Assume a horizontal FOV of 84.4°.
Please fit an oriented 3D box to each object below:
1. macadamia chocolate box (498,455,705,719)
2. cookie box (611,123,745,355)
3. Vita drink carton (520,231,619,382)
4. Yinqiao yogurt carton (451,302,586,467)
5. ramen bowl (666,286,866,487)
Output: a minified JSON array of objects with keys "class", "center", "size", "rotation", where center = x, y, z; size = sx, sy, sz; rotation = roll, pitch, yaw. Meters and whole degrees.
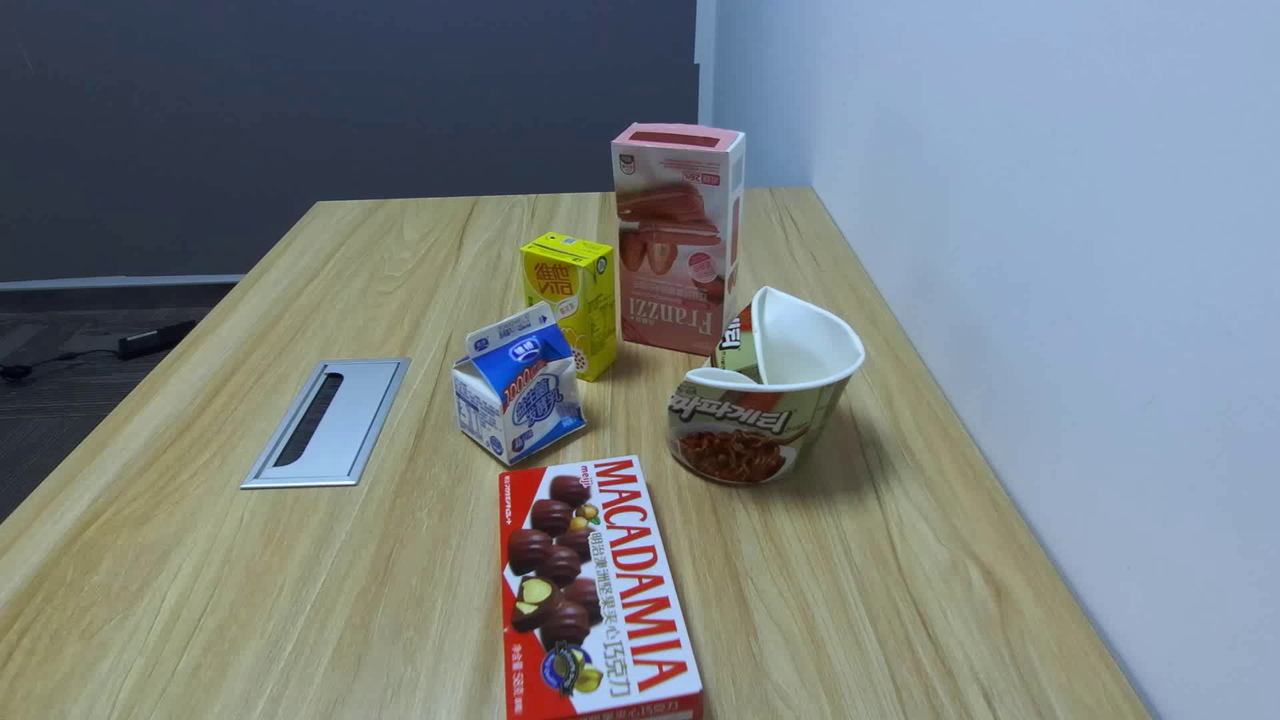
[{"class":"macadamia chocolate box","center":[-0.030,0.127,0.407],"size":[0.096,0.027,0.177],"rotation":[-5,34,-9]},{"class":"cookie box","center":[0.029,-0.097,0.589],"size":[0.105,0.188,0.049],"rotation":[12,36,19]},{"class":"Vita drink carton","center":[-0.056,-0.044,0.586],"size":[0.066,0.109,0.044],"rotation":[18,38,27]},{"class":"Yinqiao yogurt carton","center":[-0.090,0.013,0.518],"size":[0.078,0.094,0.070],"rotation":[-26,35,-33]},{"class":"ramen bowl","center":[0.078,0.022,0.492],"size":[0.137,0.098,0.137],"rotation":[-3,36,2]}]
